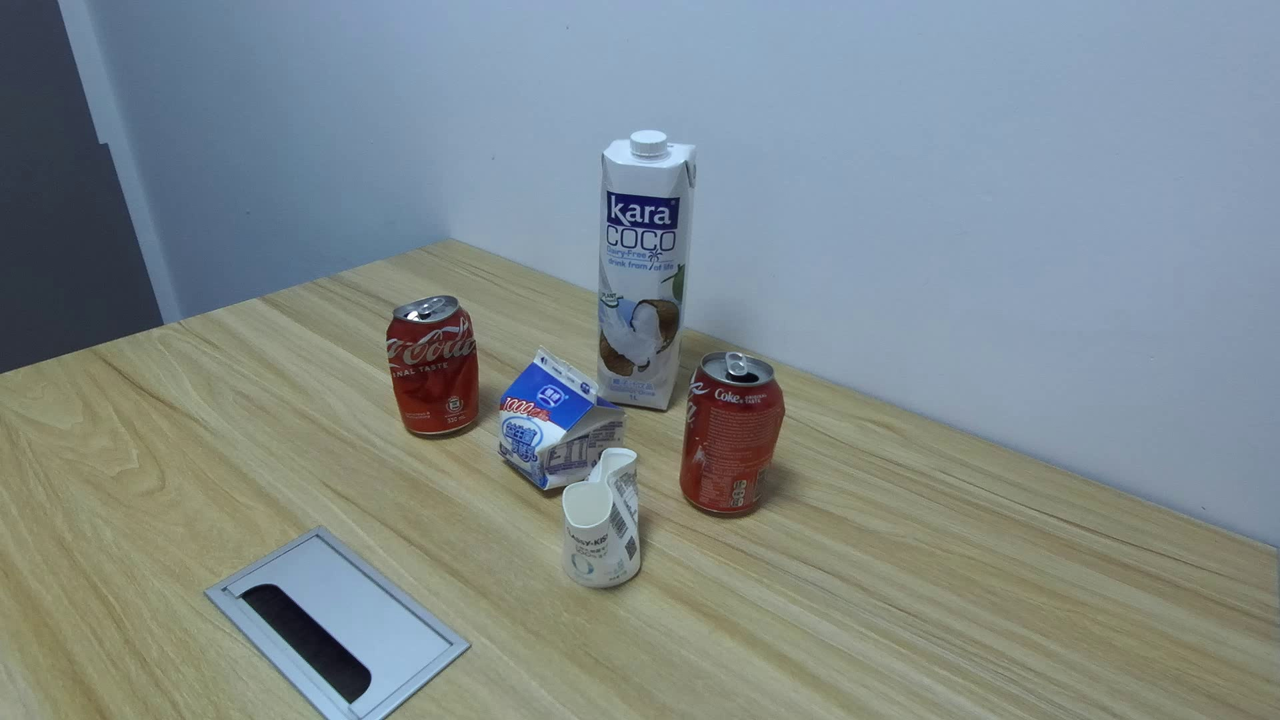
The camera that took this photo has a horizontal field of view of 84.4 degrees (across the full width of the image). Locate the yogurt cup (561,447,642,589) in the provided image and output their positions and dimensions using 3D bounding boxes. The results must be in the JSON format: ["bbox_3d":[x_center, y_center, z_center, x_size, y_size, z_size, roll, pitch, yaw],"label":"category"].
[{"bbox_3d":[-0.024,0.109,0.474,0.054,0.071,0.075,-2,32,-7],"label":"yogurt cup"}]

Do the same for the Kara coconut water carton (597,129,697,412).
[{"bbox_3d":[0.003,-0.076,0.624,0.077,0.245,0.075,7,28,9],"label":"Kara coconut water carton"}]

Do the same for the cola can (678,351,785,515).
[{"bbox_3d":[0.064,0.055,0.531,0.072,0.117,0.066,22,36,30],"label":"cola can"}]

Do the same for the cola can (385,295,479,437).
[{"bbox_3d":[-0.174,0.004,0.606,0.069,0.112,0.065,-3,30,-10],"label":"cola can"}]

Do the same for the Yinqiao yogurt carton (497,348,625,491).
[{"bbox_3d":[-0.063,0.045,0.557,0.080,0.097,0.074,-15,32,-43],"label":"Yinqiao yogurt carton"}]
